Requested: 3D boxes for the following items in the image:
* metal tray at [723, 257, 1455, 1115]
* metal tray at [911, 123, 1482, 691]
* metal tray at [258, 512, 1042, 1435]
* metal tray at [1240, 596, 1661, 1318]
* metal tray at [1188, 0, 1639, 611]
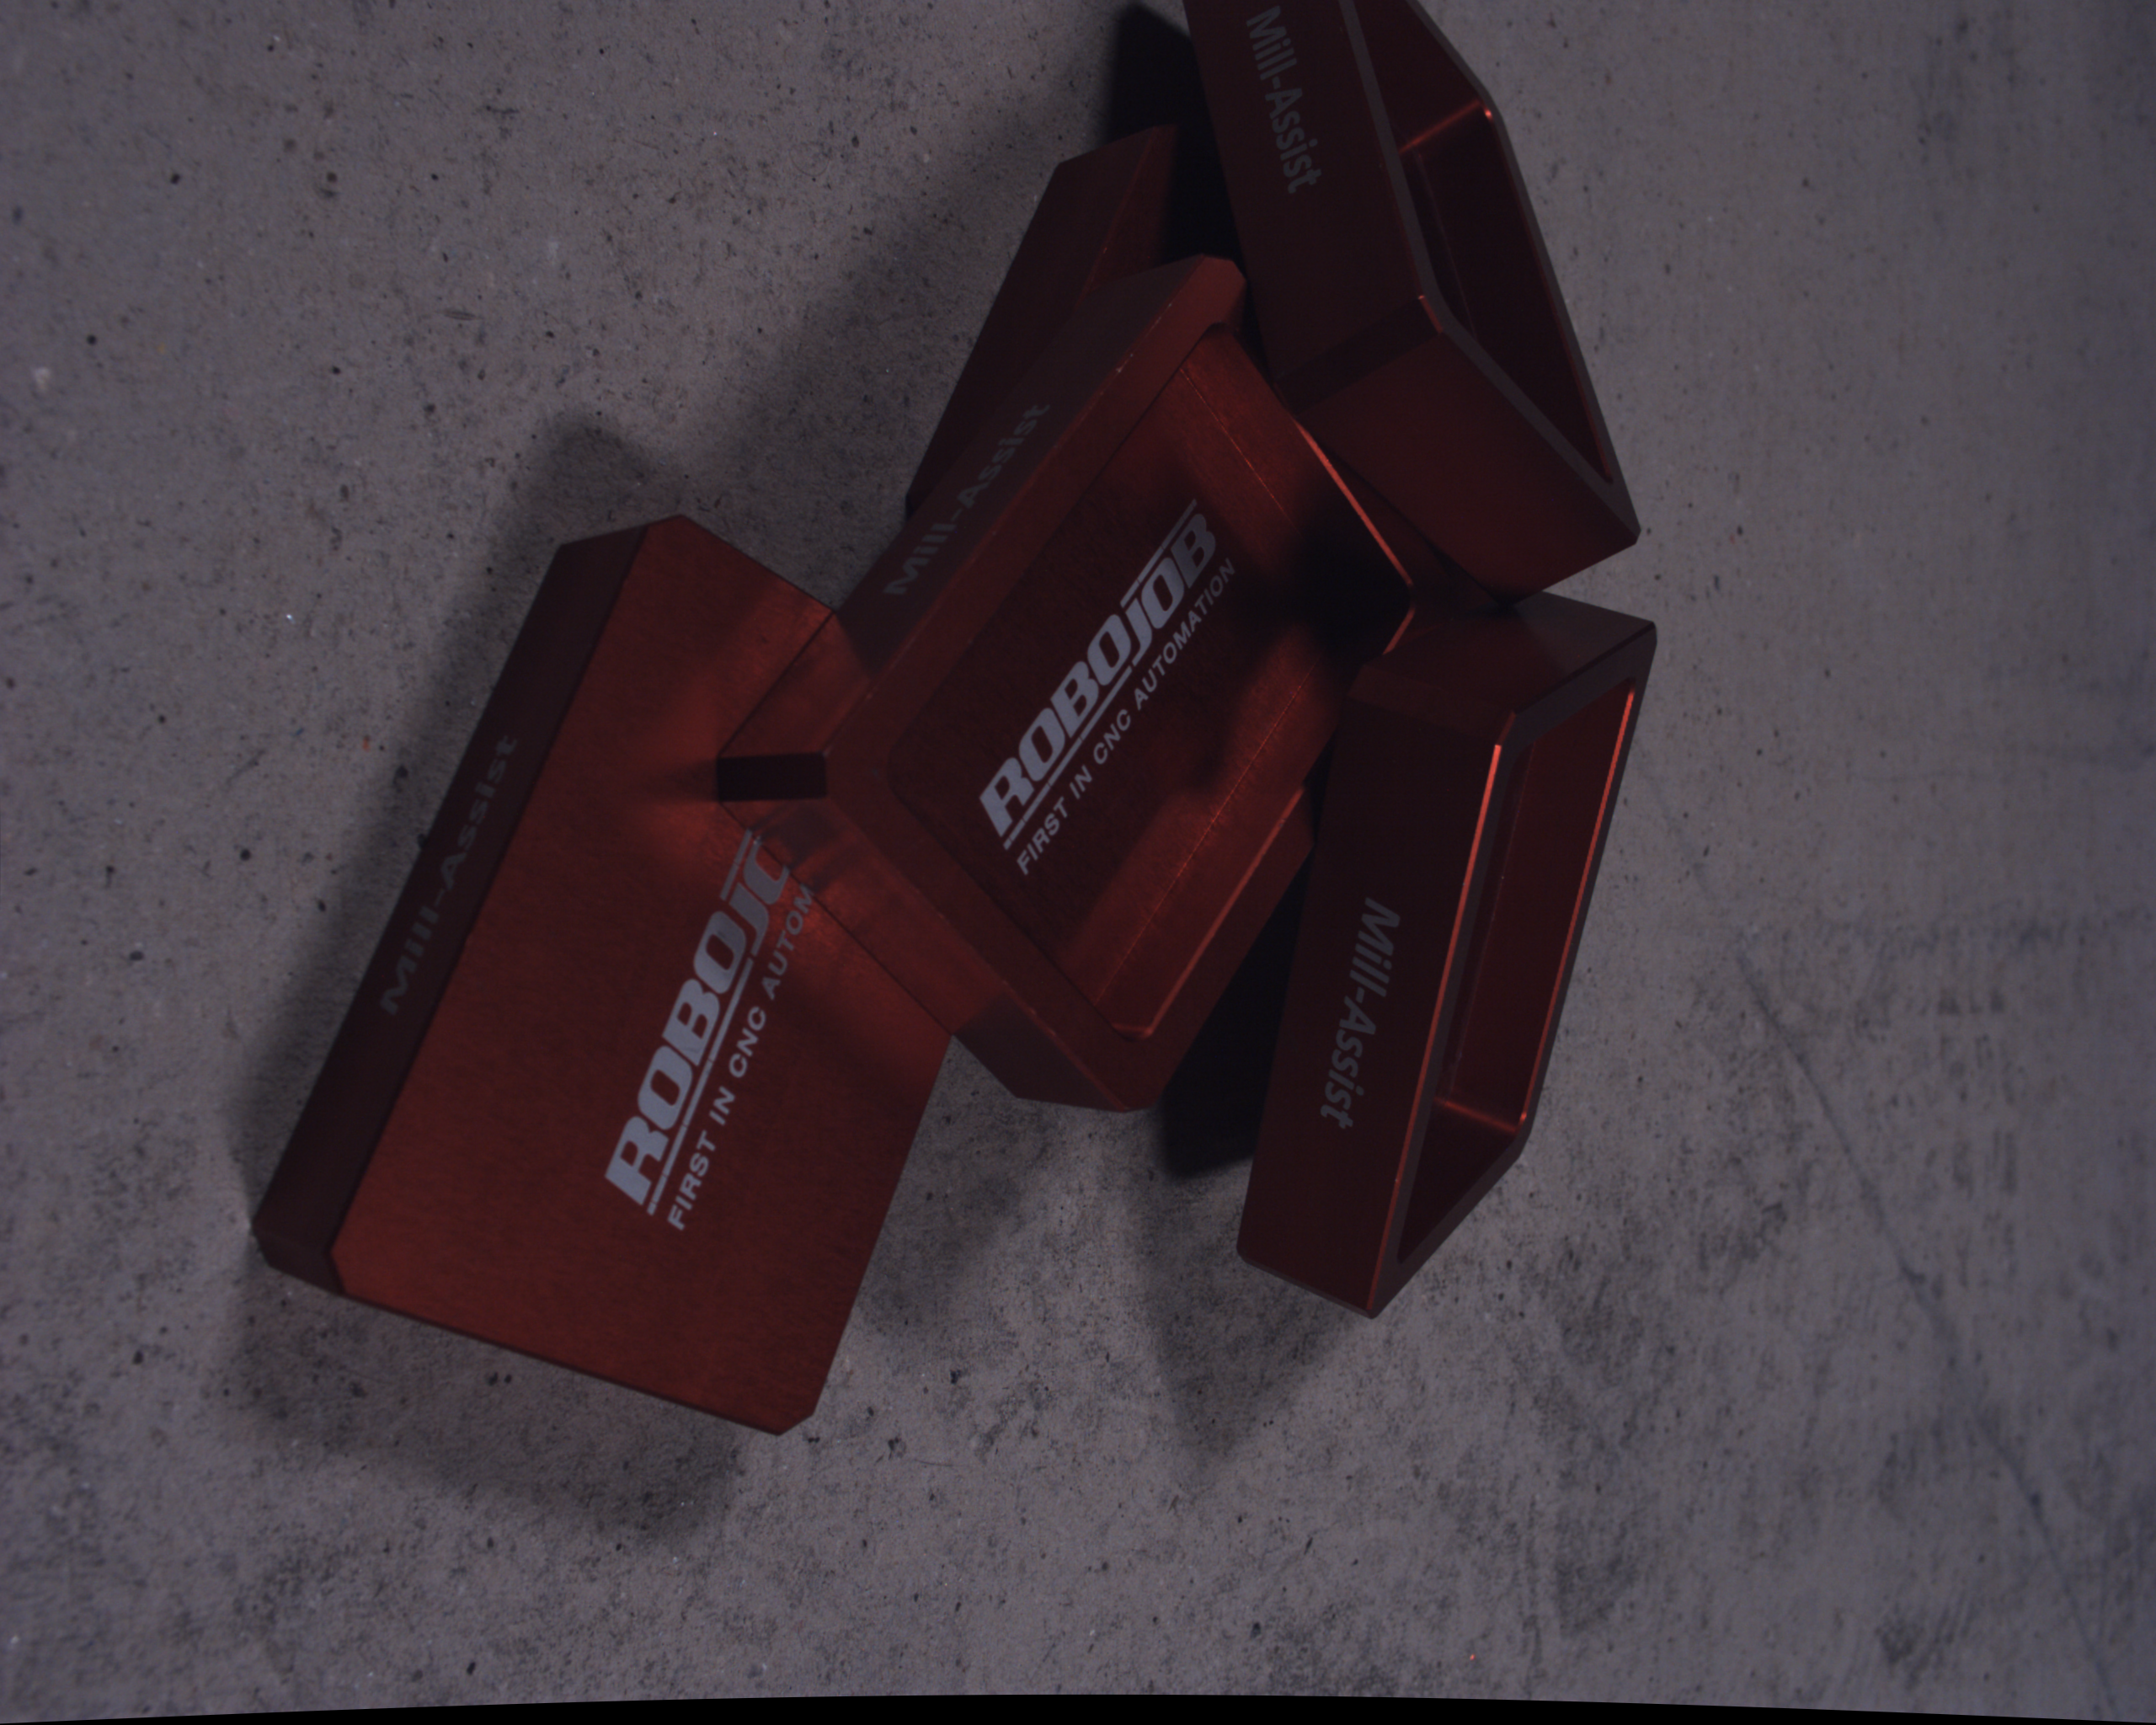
[{"bbox_3d":[0.008,-0.032,0.373,0.090,0.030,0.130,49,61,-29],"label":"metal tray"},{"bbox_3d":[0.036,-0.076,0.435,0.130,0.030,0.090,34,69,-35],"label":"metal tray"},{"bbox_3d":[-0.065,0.019,0.349,0.090,0.030,0.130,31,71,-36],"label":"metal tray"},{"bbox_3d":[0.076,0.017,0.425,0.091,0.030,0.129,-29,133,-53],"label":"metal tray"},{"bbox_3d":[0.065,-0.125,0.415,0.090,0.030,0.130,29,44,-47],"label":"metal tray"}]
